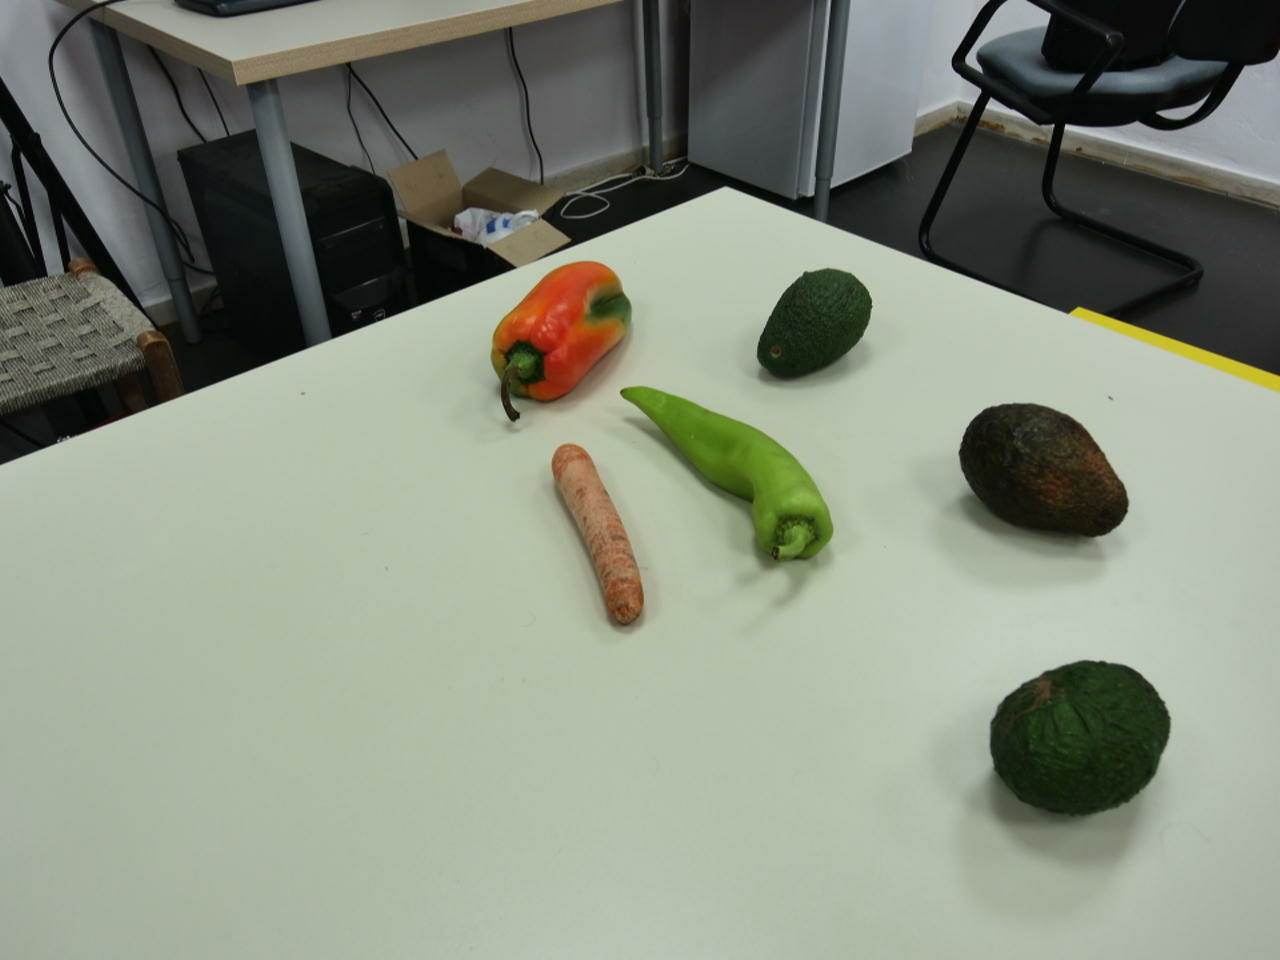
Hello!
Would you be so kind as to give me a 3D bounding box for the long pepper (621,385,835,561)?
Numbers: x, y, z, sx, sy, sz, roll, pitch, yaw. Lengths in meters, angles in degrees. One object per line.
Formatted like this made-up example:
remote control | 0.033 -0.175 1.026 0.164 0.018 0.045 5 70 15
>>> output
long pepper | 0.058 -0.014 0.624 0.065 0.045 0.204 -15 39 -20
